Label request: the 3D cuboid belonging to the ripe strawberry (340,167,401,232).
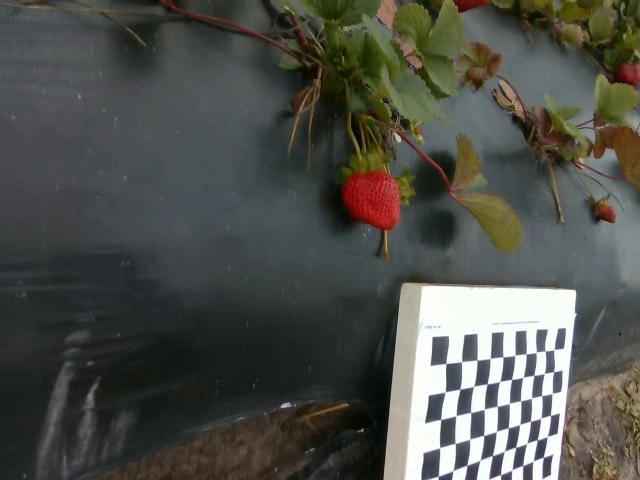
[{"bbox_3d":[0.014,-0.008,0.157,0.014,0.017,0.018,-40,-26,17],"label":"ripe strawberry"}]
